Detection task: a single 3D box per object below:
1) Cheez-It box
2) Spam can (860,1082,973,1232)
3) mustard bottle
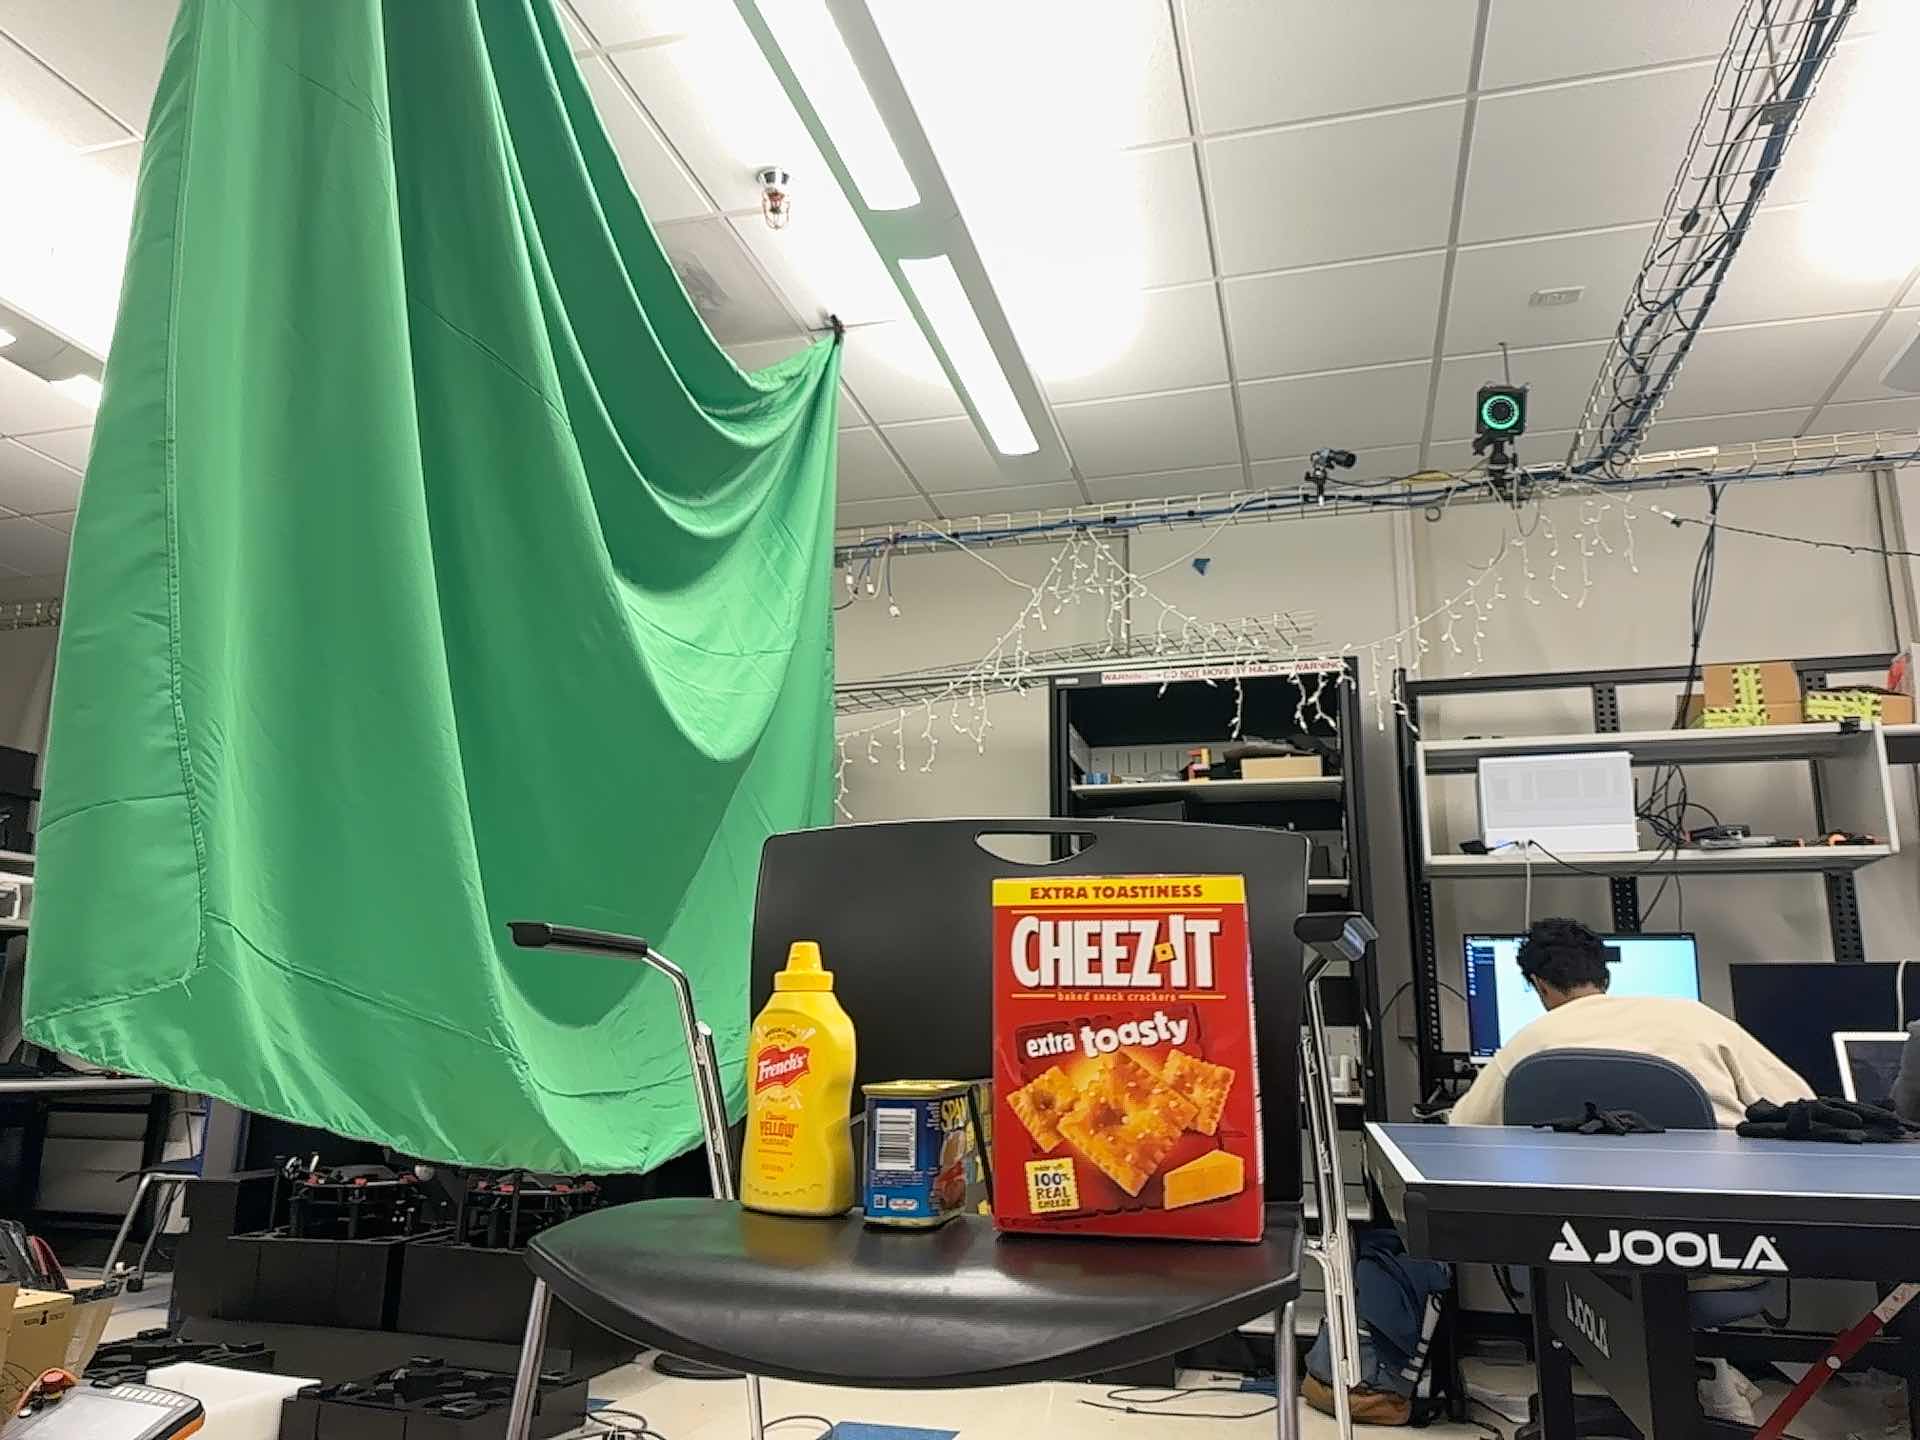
[{"bbox_3d":[0.107,0.211,0.872,0.159,0.214,0.062,-4,-14,16],"label":"Cheez-It box"},{"bbox_3d":[-0.030,0.293,0.917,0.056,0.083,0.100,-2,-11,18],"label":"Spam can"},{"bbox_3d":[-0.114,0.250,0.955,0.092,0.184,0.054,-5,-12,32],"label":"mustard bottle"}]
